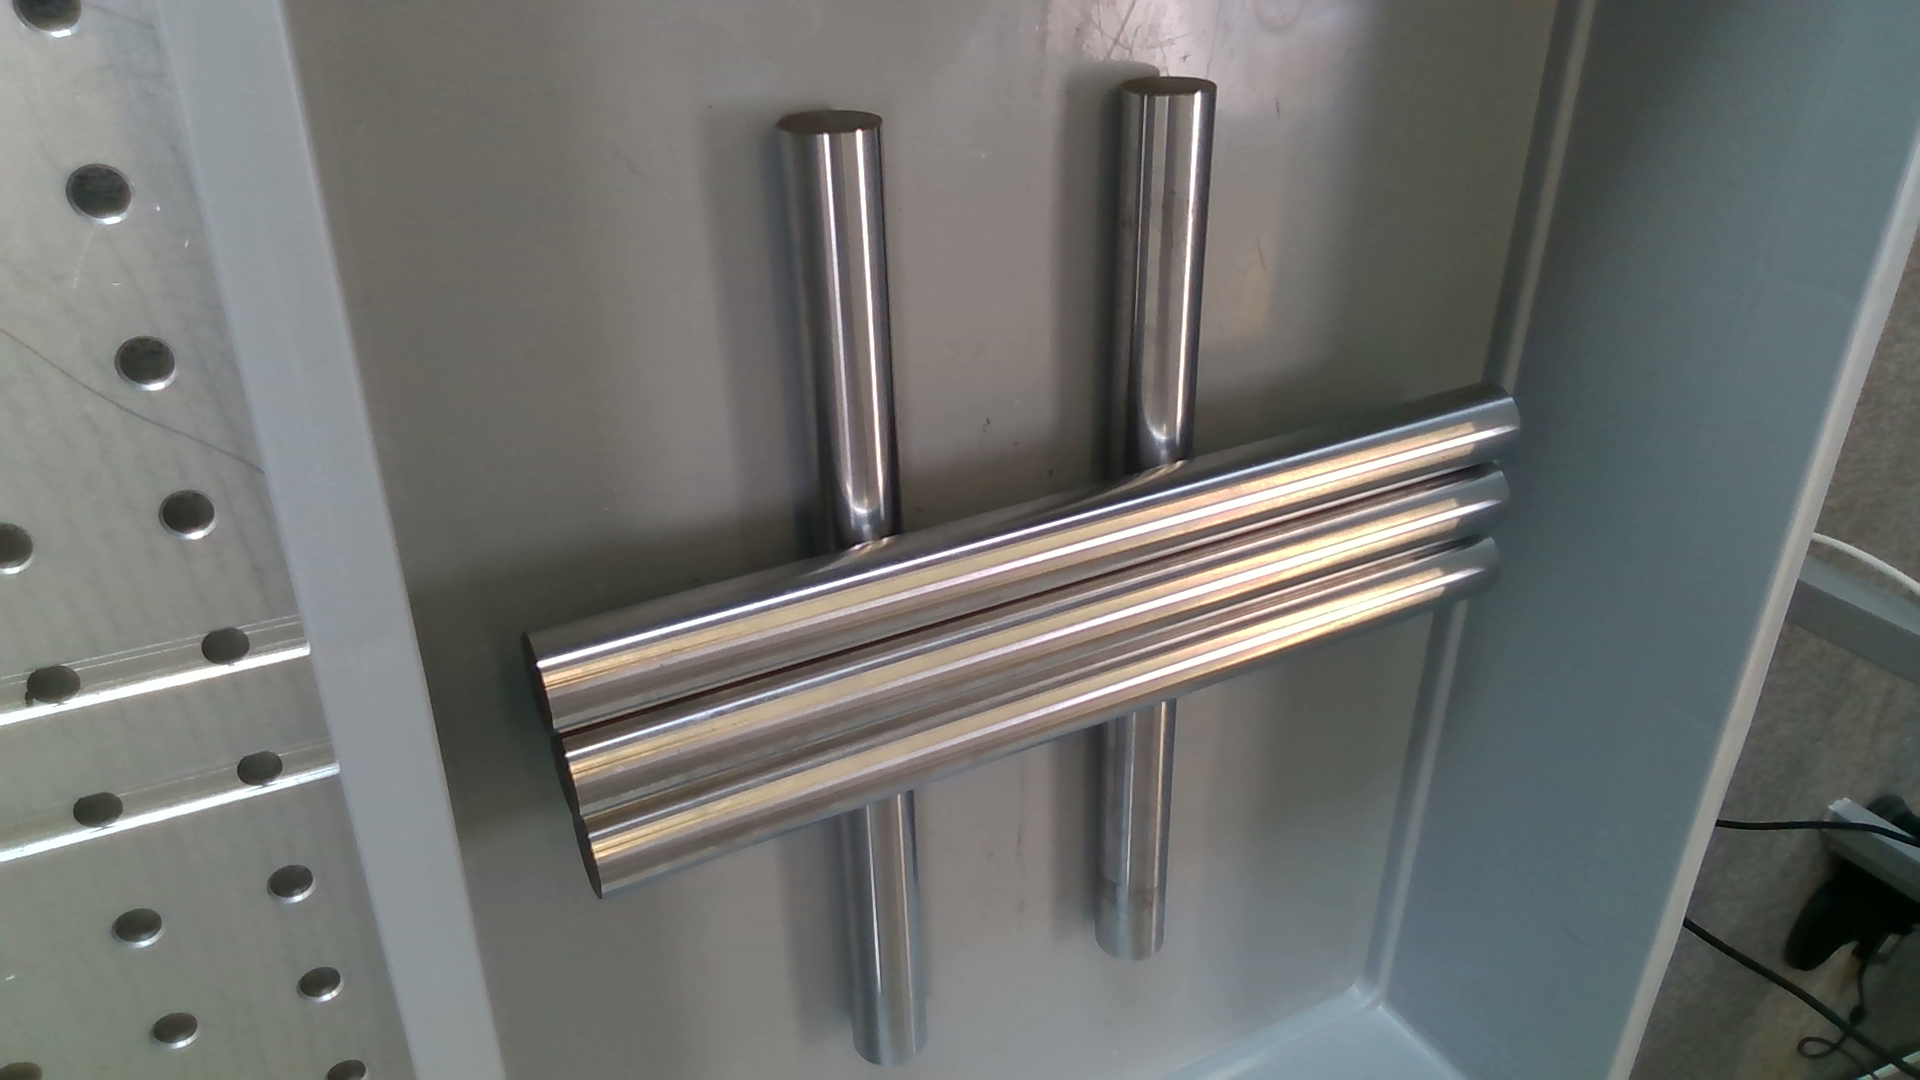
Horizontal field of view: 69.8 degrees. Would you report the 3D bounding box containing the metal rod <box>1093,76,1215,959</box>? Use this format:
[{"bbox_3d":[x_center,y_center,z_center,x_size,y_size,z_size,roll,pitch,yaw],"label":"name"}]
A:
[{"bbox_3d":[0.057,0.013,0.431,0.025,0.025,0.301,-16,122,-24],"label":"metal rod"}]

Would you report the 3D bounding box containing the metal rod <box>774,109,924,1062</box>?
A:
[{"bbox_3d":[-0.027,0.035,0.391,0.025,0.025,0.301,-16,122,-24],"label":"metal rod"}]

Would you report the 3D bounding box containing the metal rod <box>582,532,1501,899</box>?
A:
[{"bbox_3d":[0.040,0.041,0.402,0.300,0.025,0.025,-15,122,-24],"label":"metal rod"}]

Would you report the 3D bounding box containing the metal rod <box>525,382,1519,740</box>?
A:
[{"bbox_3d":[0.036,-0.002,0.376,0.300,0.025,0.025,-15,122,-24],"label":"metal rod"}]

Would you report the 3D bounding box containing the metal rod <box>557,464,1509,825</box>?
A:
[{"bbox_3d":[0.038,0.020,0.390,0.300,0.025,0.025,-15,122,-24],"label":"metal rod"}]
